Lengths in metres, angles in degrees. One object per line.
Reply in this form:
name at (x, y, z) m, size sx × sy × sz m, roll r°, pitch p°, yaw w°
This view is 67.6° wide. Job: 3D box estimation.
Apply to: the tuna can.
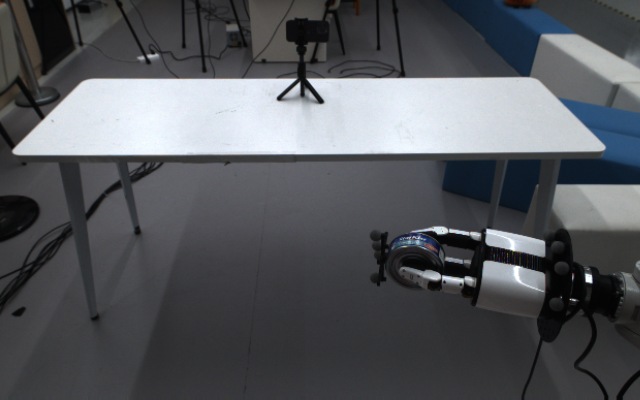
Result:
tuna can at (0.142, 0.086, 0.713) m, size 0.085 × 0.085 × 0.034 m, roll 9°, pitch 32°, yaw 10°
